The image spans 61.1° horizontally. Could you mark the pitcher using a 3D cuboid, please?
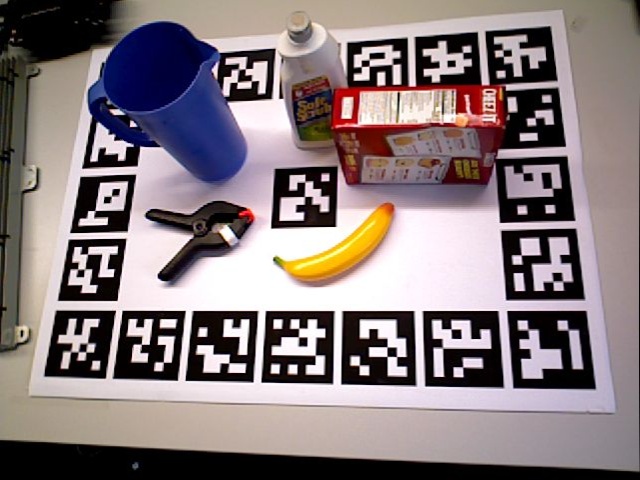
[{"bbox_3d":[-0.200,-0.172,0.751,0.188,0.245,0.132,-19,67,-1],"label":"pitcher"}]

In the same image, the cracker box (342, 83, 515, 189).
[{"bbox_3d":[0.144,-0.139,0.729,0.214,0.166,0.071,-1,66,11],"label":"cracker box"}]

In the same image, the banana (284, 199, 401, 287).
[{"bbox_3d":[0.046,0.011,0.786,0.196,0.039,0.074,-35,68,-3],"label":"banana"}]

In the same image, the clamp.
[{"bbox_3d":[-0.172,-0.004,0.821,0.165,0.037,0.121,-18,67,1],"label":"clamp"}]

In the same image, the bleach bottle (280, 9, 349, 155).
[{"bbox_3d":[-0.012,-0.212,0.752,0.103,0.253,0.067,-2,68,8],"label":"bleach bottle"}]
